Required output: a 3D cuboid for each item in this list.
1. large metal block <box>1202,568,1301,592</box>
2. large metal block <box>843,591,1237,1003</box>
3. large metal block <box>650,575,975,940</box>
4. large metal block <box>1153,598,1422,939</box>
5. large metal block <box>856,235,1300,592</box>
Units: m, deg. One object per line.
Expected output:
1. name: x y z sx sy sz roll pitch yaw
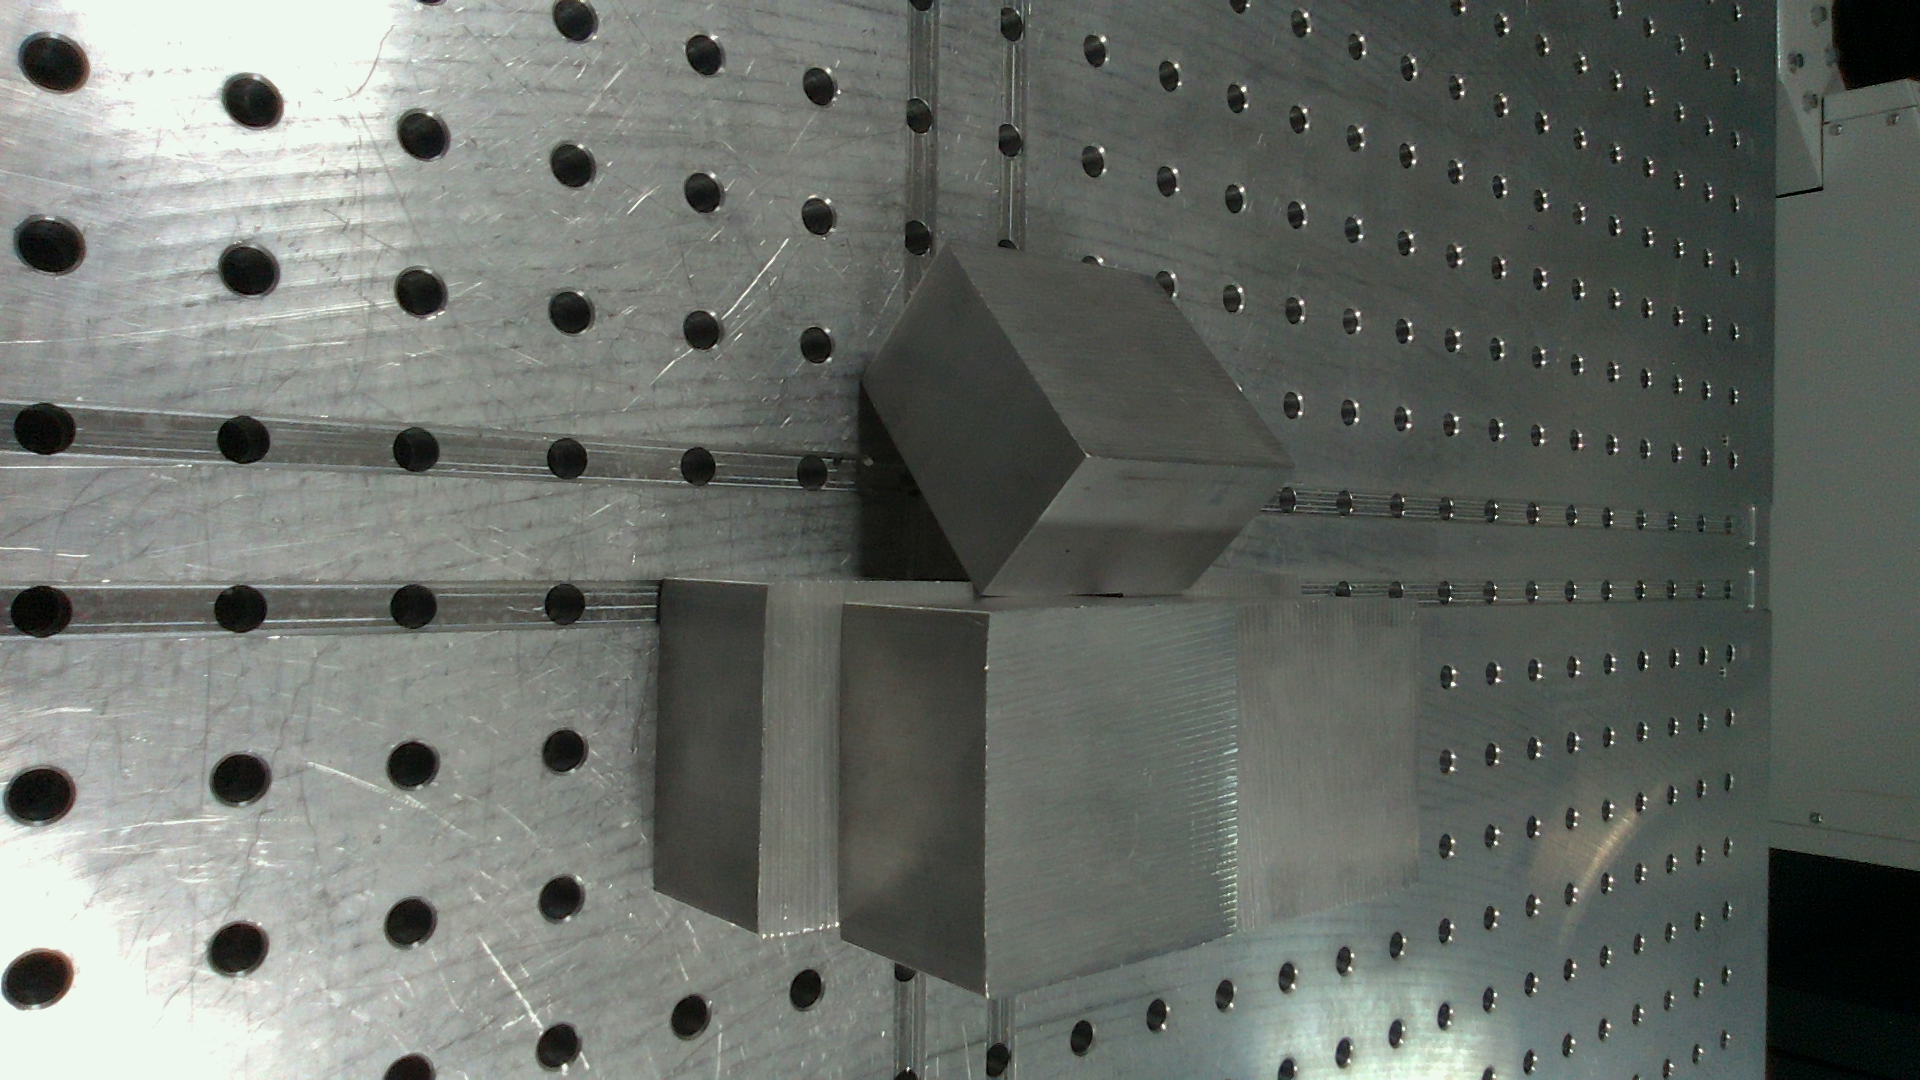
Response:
1. large metal block: 0.061 0.050 0.426 0.080 0.050 0.080 -1 91 -40
2. large metal block: 0.020 0.054 0.324 0.080 0.050 0.080 0 90 -40
3. large metal block: -0.030 0.050 0.351 0.080 0.050 0.080 2 89 -40
4. large metal block: 0.082 0.056 0.377 0.080 0.050 0.080 0 90 -40
5. large metal block: 0.031 -0.032 0.375 0.080 0.050 0.080 0 48 -40
